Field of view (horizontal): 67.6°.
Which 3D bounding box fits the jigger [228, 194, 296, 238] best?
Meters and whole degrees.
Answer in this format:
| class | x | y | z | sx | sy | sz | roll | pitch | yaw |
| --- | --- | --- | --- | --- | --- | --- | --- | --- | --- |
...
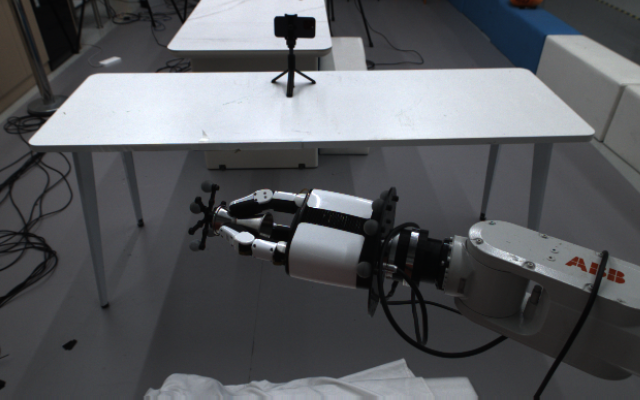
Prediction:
| class | x | y | z | sx | sy | sz | roll | pitch | yaw |
| --- | --- | --- | --- | --- | --- | --- | --- | --- | --- |
| jigger | -0.094 | 0.030 | 0.633 | 0.071 | 0.043 | 0.043 | 11 | 36 | 15 |
